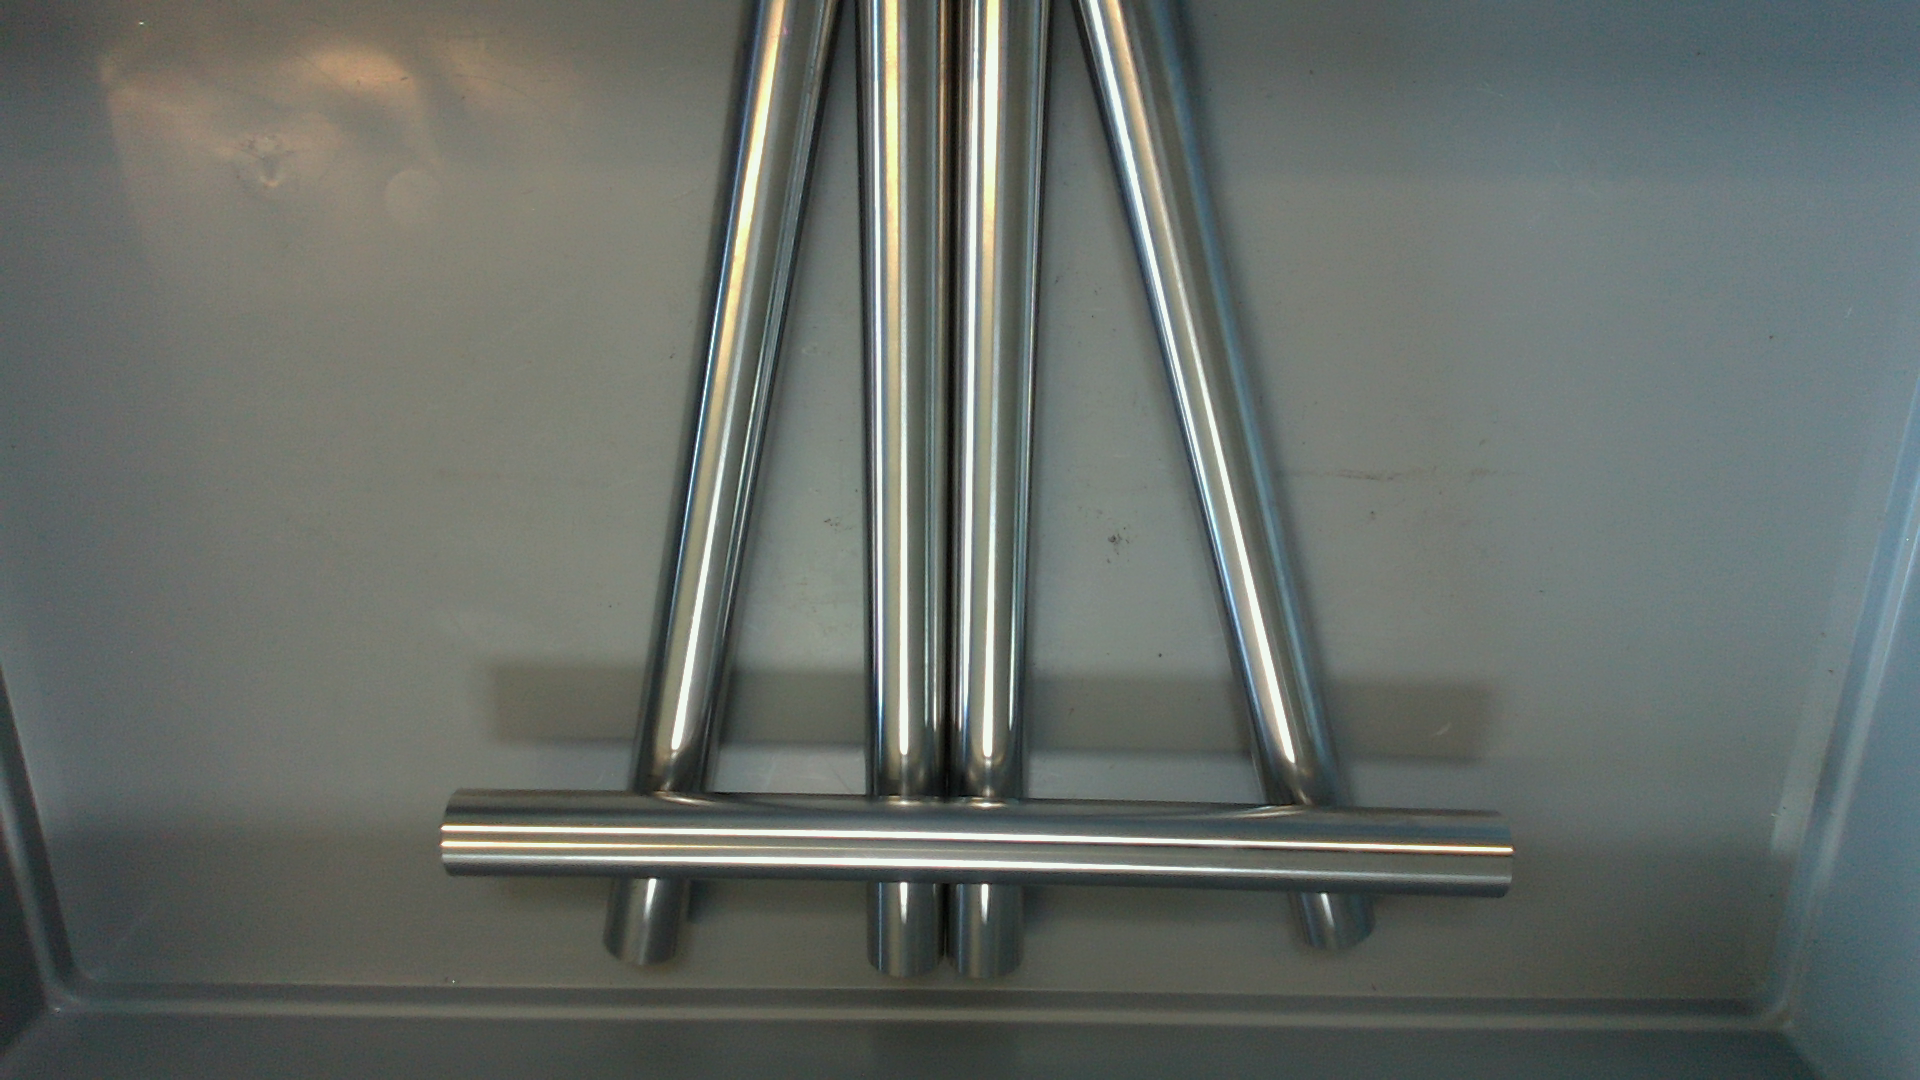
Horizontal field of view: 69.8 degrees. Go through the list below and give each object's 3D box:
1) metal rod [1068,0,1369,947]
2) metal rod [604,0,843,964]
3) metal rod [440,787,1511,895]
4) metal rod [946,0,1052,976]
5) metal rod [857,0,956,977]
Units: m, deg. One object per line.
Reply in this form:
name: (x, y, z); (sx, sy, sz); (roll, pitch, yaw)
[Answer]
metal rod: (0.076, -0.014, 0.388); (0.025, 0.025, 0.300); (-15, 110, 5)
metal rod: (-0.070, -0.010, 0.389); (0.025, 0.025, 0.300); (11, 110, -4)
metal rod: (0.005, 0.087, 0.397); (0.300, 0.025, 0.025); (1, 110, -1)
metal rod: (0.009, -0.009, 0.390); (0.025, 0.025, 0.300); (1, 110, 0)
metal rod: (-0.015, -0.008, 0.390); (0.025, 0.025, 0.300); (1, 110, 0)
